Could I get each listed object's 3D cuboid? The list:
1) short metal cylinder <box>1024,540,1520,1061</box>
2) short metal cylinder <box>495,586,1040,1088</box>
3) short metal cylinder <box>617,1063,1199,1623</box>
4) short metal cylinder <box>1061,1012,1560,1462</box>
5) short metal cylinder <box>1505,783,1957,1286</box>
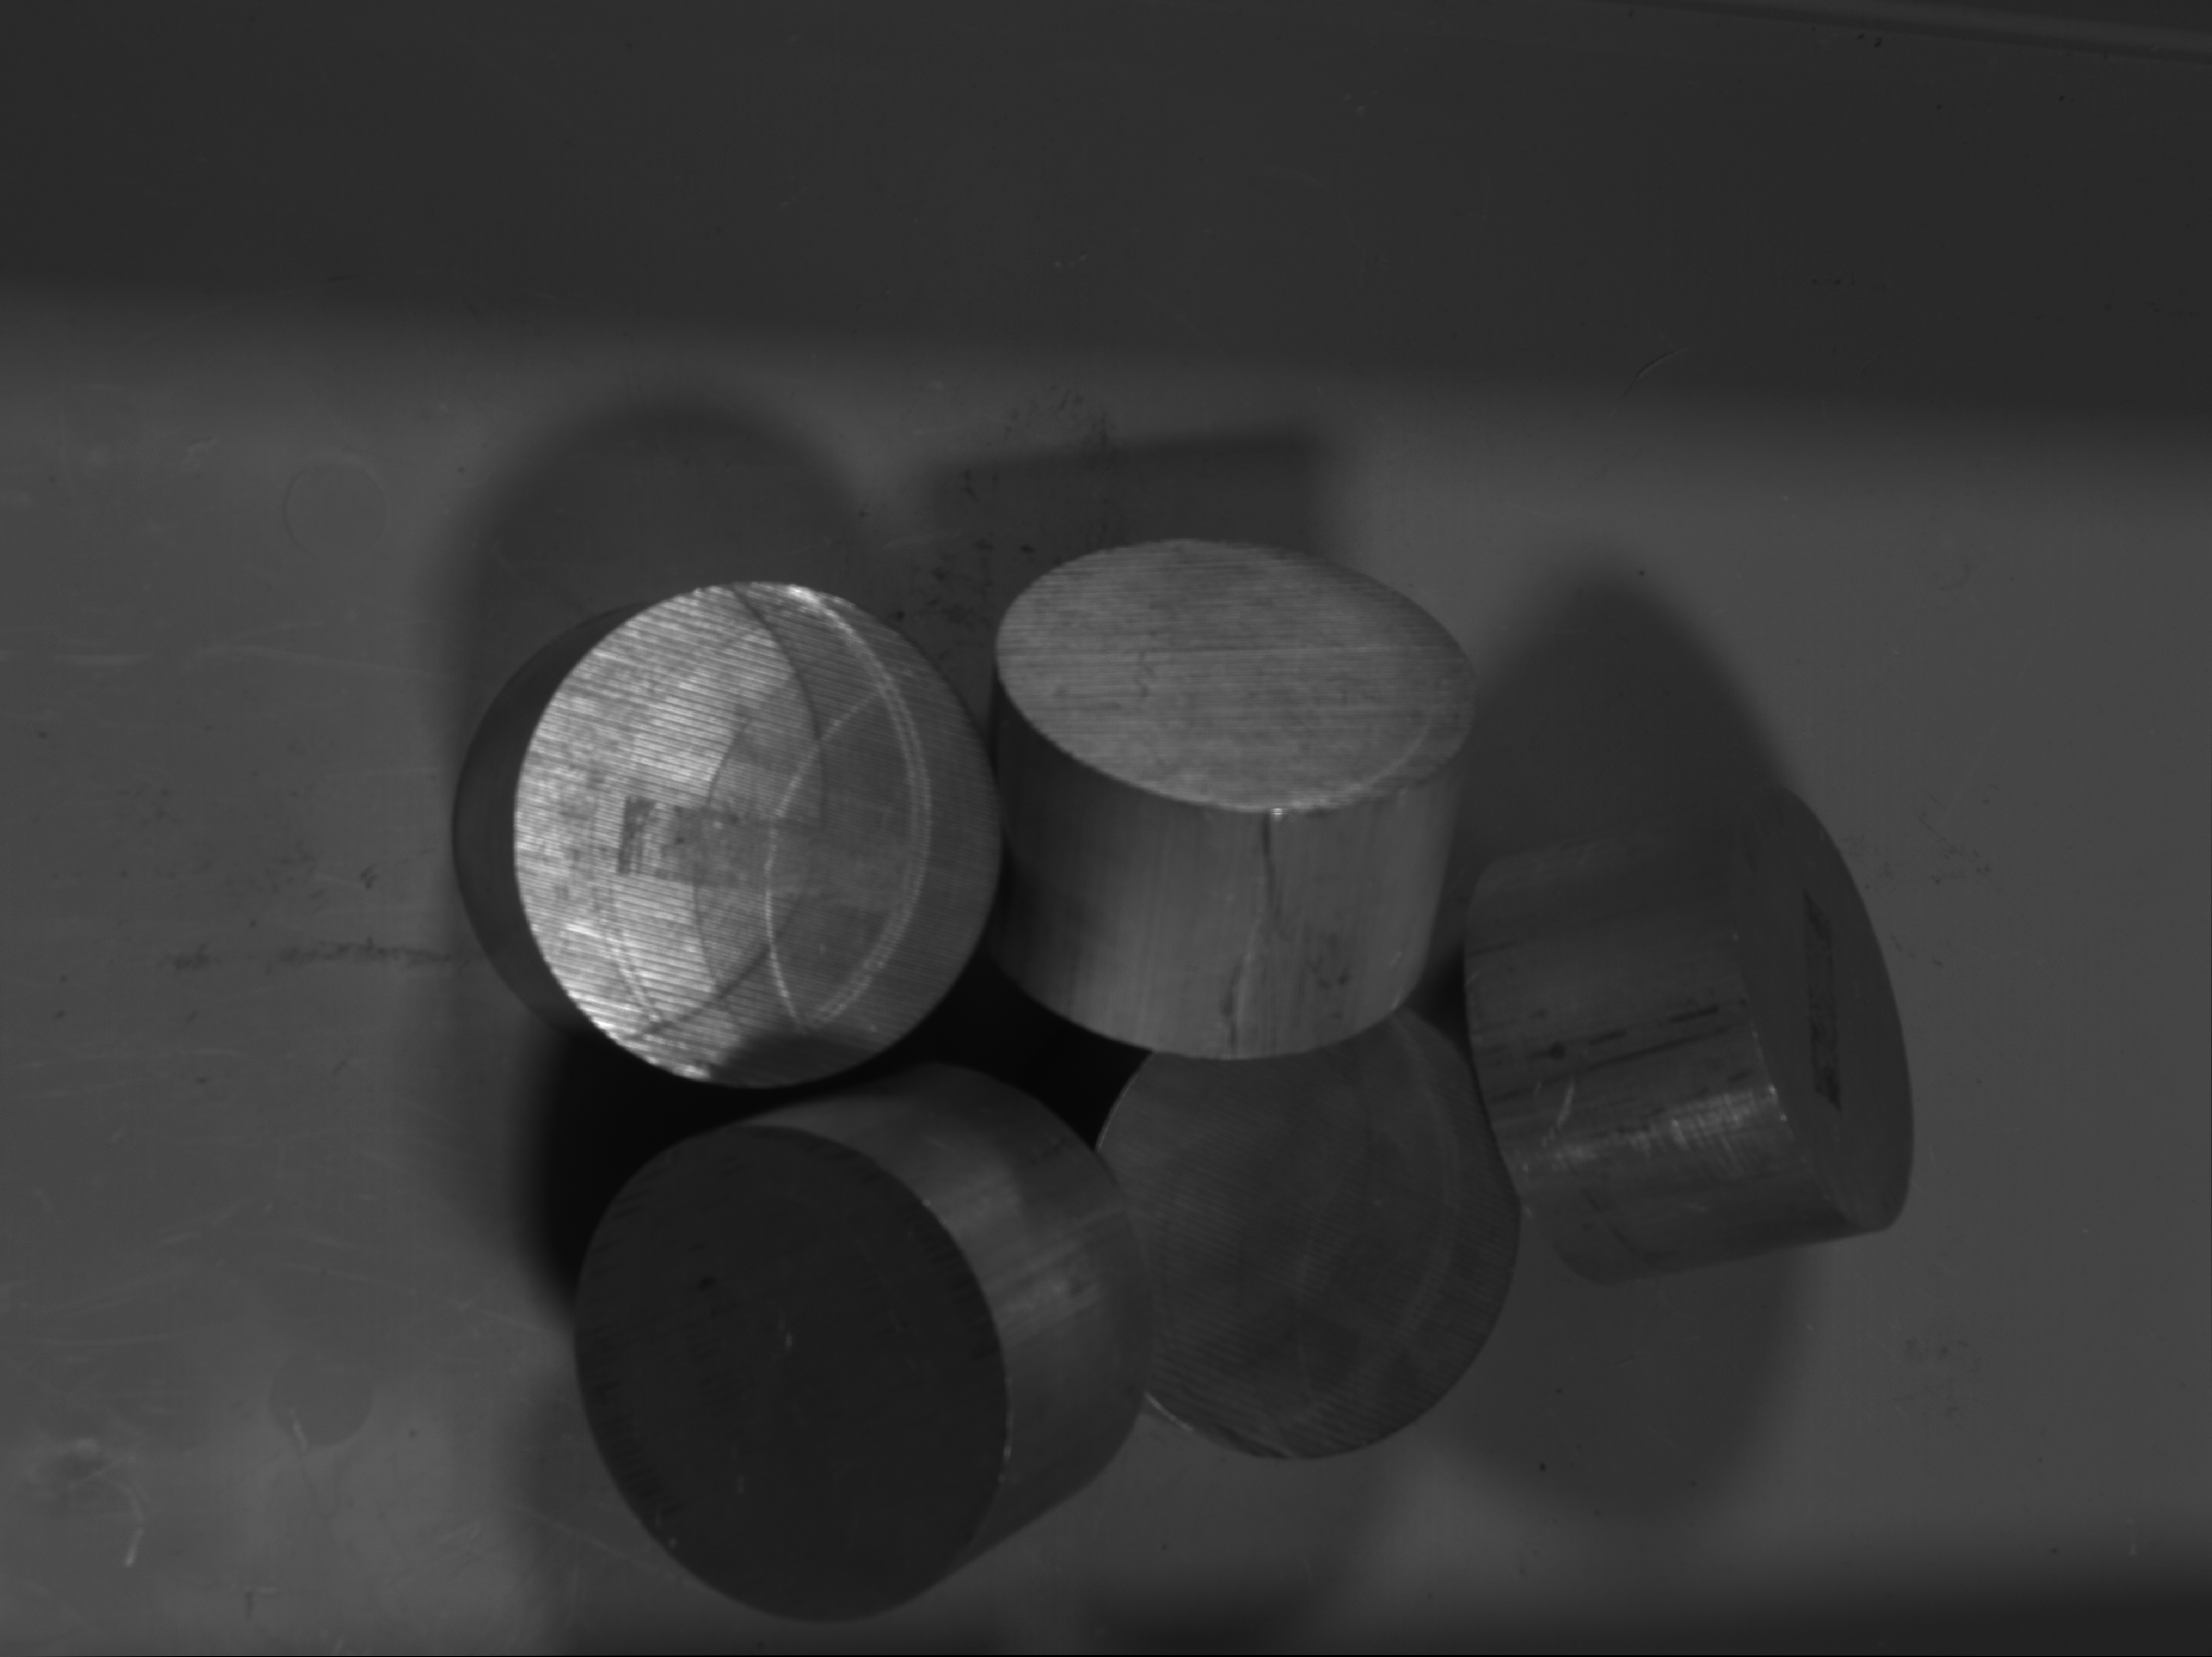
[{"bbox_3d":[0.026,-0.006,0.614,0.080,0.080,0.050,-8,128,-20],"label":"short metal cylinder"},{"bbox_3d":[-0.057,0.001,0.607,0.080,0.050,0.080,0,90,-20],"label":"short metal cylinder"},{"bbox_3d":[-0.032,0.082,0.594,0.050,0.080,0.080,-17,98,-61],"label":"short metal cylinder"},{"bbox_3d":[0.032,0.067,0.640,0.080,0.050,0.080,0,90,-20],"label":"short metal cylinder"},{"bbox_3d":[0.111,0.037,0.648,0.080,0.050,0.080,35,47,-49],"label":"short metal cylinder"}]
